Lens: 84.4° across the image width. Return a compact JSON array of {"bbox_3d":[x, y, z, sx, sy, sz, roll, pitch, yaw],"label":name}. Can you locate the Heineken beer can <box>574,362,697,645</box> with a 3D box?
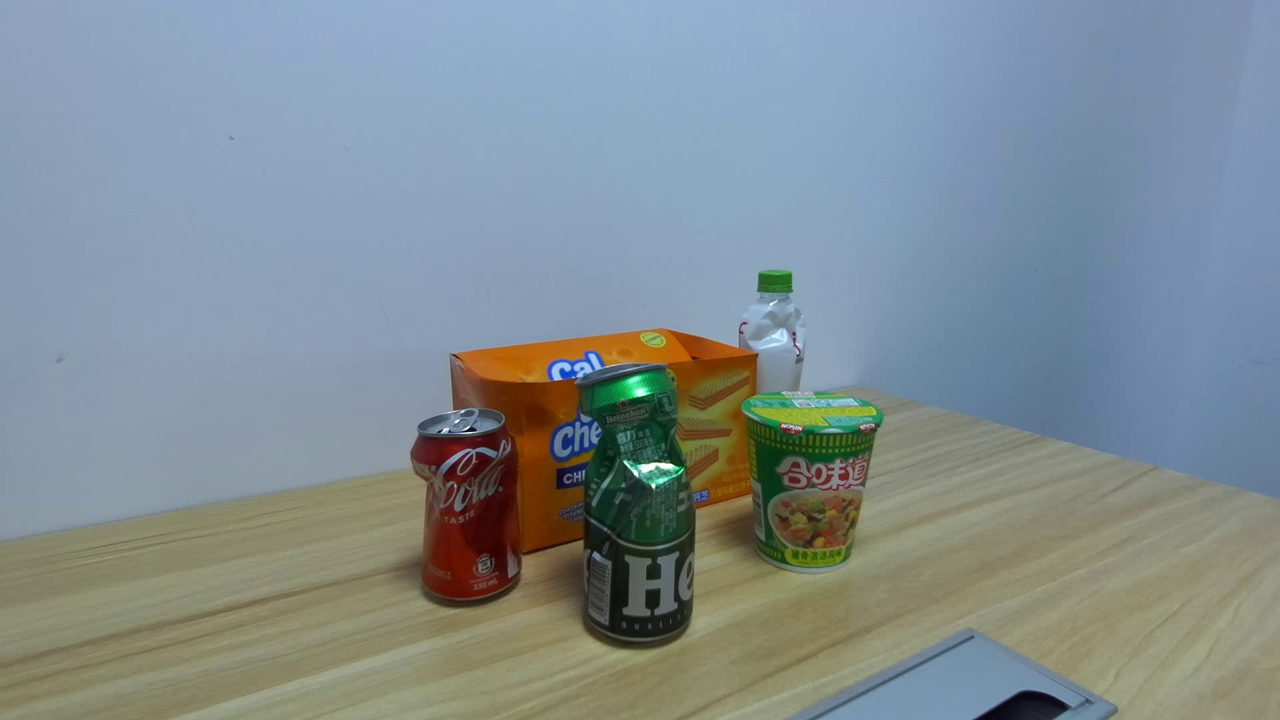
[{"bbox_3d":[0.000,0.082,0.417,0.078,0.159,0.067,0,7,34],"label":"Heineken beer can"}]

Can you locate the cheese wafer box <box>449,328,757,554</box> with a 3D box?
[{"bbox_3d":[-0.031,0.058,0.605,0.231,0.132,0.151,-7,15,-32],"label":"cheese wafer box"}]

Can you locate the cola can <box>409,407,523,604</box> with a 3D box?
[{"bbox_3d":[-0.113,0.093,0.461,0.066,0.117,0.066,-10,15,-38],"label":"cola can"}]

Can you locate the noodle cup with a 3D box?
[{"bbox_3d":[0.117,0.085,0.500,0.097,0.110,0.097,1,14,0],"label":"noodle cup"}]
